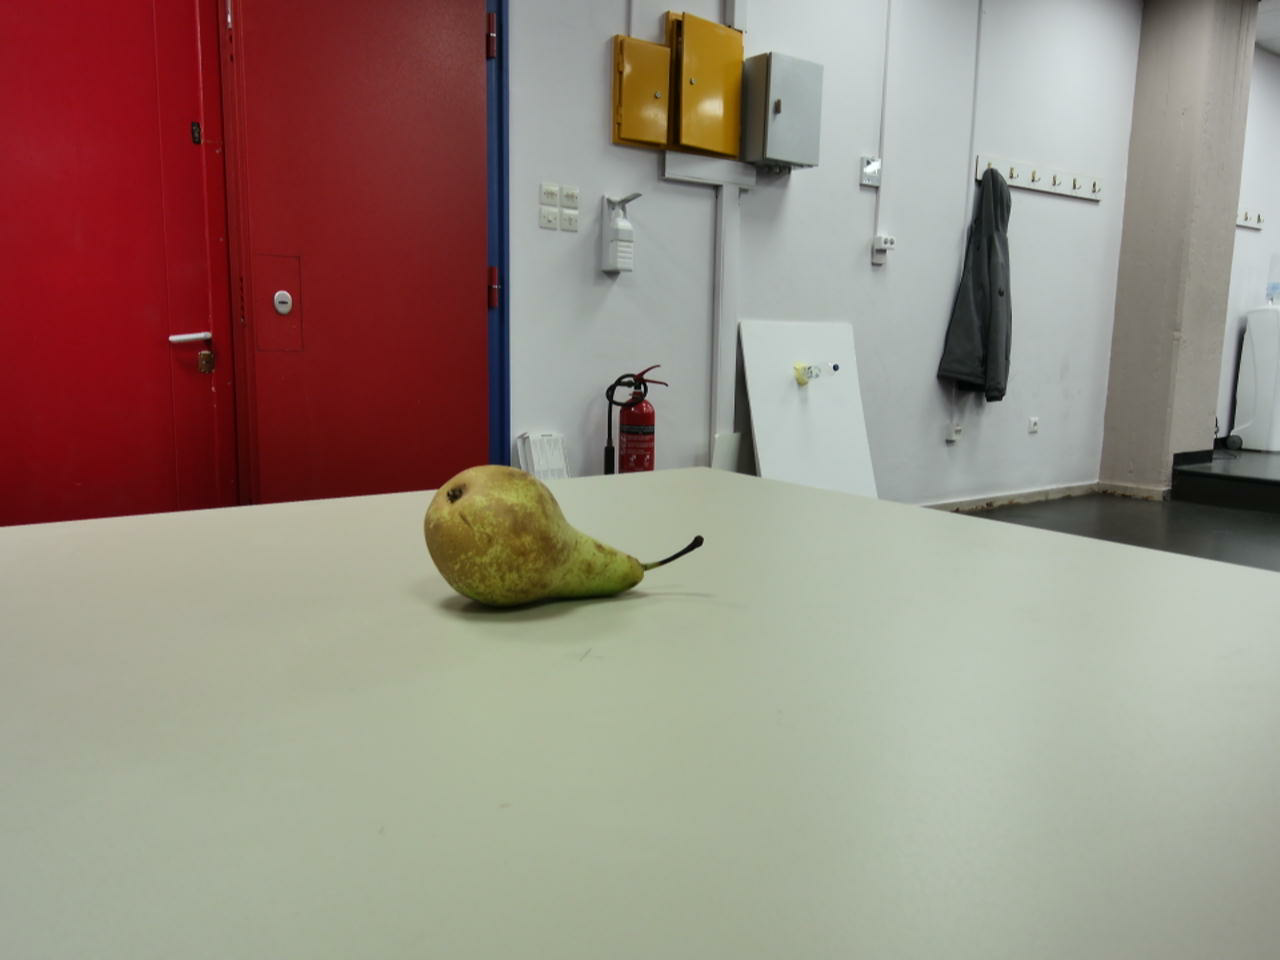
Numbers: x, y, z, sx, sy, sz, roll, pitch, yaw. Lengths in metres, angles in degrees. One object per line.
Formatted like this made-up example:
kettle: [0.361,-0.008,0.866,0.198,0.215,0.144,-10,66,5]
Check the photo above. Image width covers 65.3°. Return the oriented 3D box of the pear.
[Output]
pear: [-0.045,0.028,0.545,0.144,0.075,0.072,-5,7,-29]
